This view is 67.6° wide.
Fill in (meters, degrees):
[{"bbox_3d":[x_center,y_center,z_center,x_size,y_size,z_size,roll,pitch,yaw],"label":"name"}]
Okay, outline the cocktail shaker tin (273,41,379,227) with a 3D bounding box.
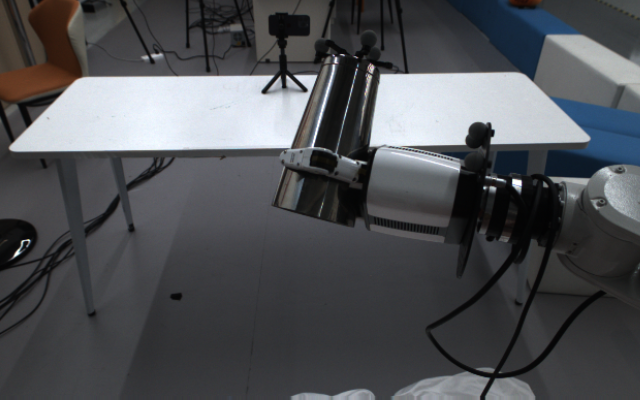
[{"bbox_3d":[0.014,-0.063,0.527,0.093,0.170,0.093,15,-4,1],"label":"cocktail shaker tin"}]
